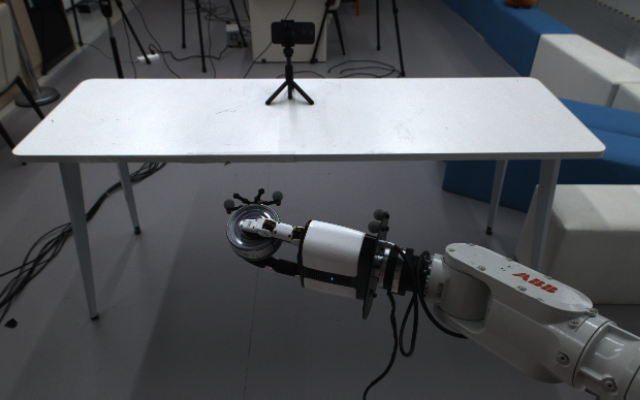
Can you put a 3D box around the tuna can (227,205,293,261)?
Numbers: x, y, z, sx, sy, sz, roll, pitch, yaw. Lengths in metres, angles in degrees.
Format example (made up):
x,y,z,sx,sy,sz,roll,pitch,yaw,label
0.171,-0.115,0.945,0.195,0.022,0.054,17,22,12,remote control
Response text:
x,y,z,sx,sy,sz,roll,pitch,yaw,label
-0.097,0.055,0.748,0.085,0.034,0.085,-3,60,5,tuna can
